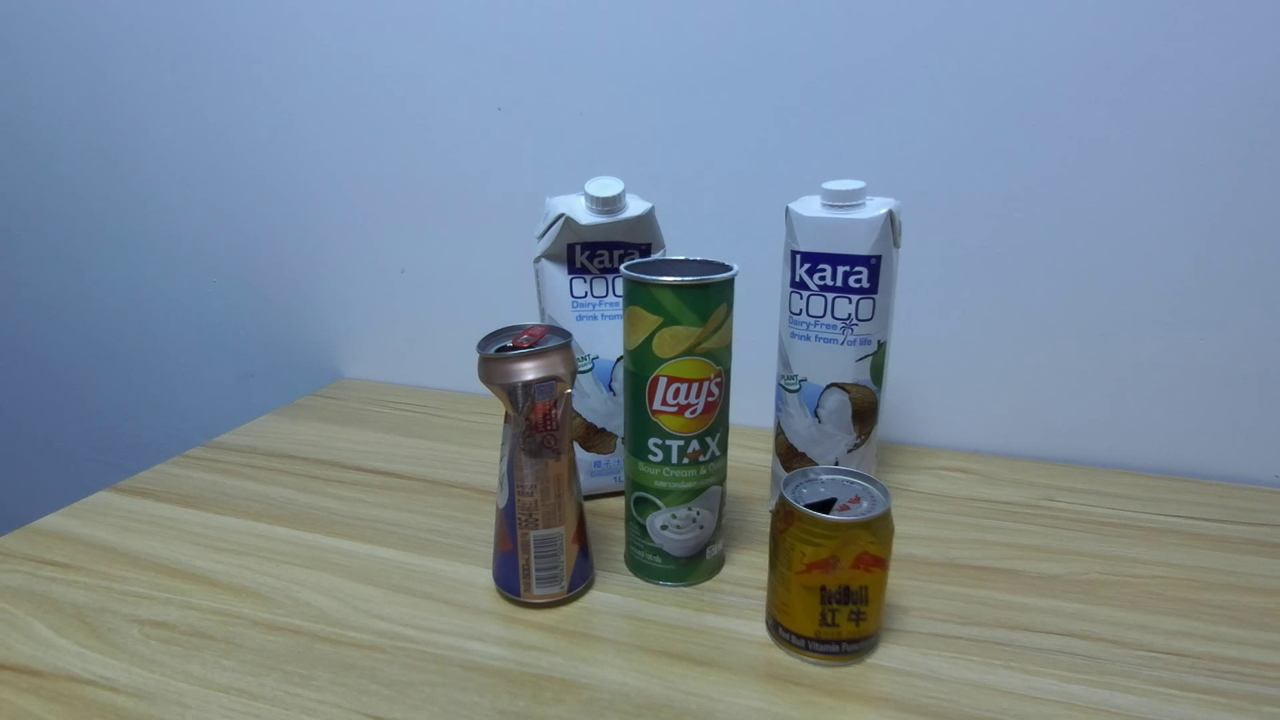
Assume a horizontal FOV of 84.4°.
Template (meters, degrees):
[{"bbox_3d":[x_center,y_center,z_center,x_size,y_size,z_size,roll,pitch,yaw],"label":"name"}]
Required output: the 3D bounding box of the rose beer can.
[{"bbox_3d":[-0.065,0.066,0.435,0.065,0.167,0.075,-3,19,-1],"label":"rose beer can"}]

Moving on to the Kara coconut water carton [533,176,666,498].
[{"bbox_3d":[-0.027,-0.017,0.555,0.100,0.244,0.071,-8,16,-15],"label":"Kara coconut water carton"}]

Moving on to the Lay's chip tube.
[{"bbox_3d":[0.024,0.039,0.450,0.071,0.202,0.071,0,19,0],"label":"Lay's chip tube"}]

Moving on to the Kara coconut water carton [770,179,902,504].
[{"bbox_3d":[0.140,-0.004,0.512,0.077,0.245,0.075,8,19,23],"label":"Kara coconut water carton"}]
